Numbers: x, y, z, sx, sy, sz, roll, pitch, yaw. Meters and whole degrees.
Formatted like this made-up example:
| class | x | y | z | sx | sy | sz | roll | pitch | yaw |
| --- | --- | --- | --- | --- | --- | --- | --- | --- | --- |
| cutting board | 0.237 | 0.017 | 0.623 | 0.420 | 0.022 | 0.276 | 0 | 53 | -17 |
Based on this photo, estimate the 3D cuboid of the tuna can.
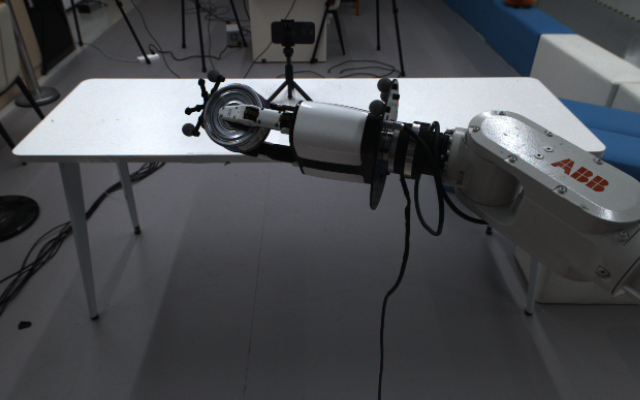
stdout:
| class | x | y | z | sx | sy | sz | roll | pitch | yaw |
| --- | --- | --- | --- | --- | --- | --- | --- | --- | --- |
| tuna can | -0.107 | -0.108 | 0.633 | 0.085 | 0.085 | 0.034 | 12 | -3 | 14 |
